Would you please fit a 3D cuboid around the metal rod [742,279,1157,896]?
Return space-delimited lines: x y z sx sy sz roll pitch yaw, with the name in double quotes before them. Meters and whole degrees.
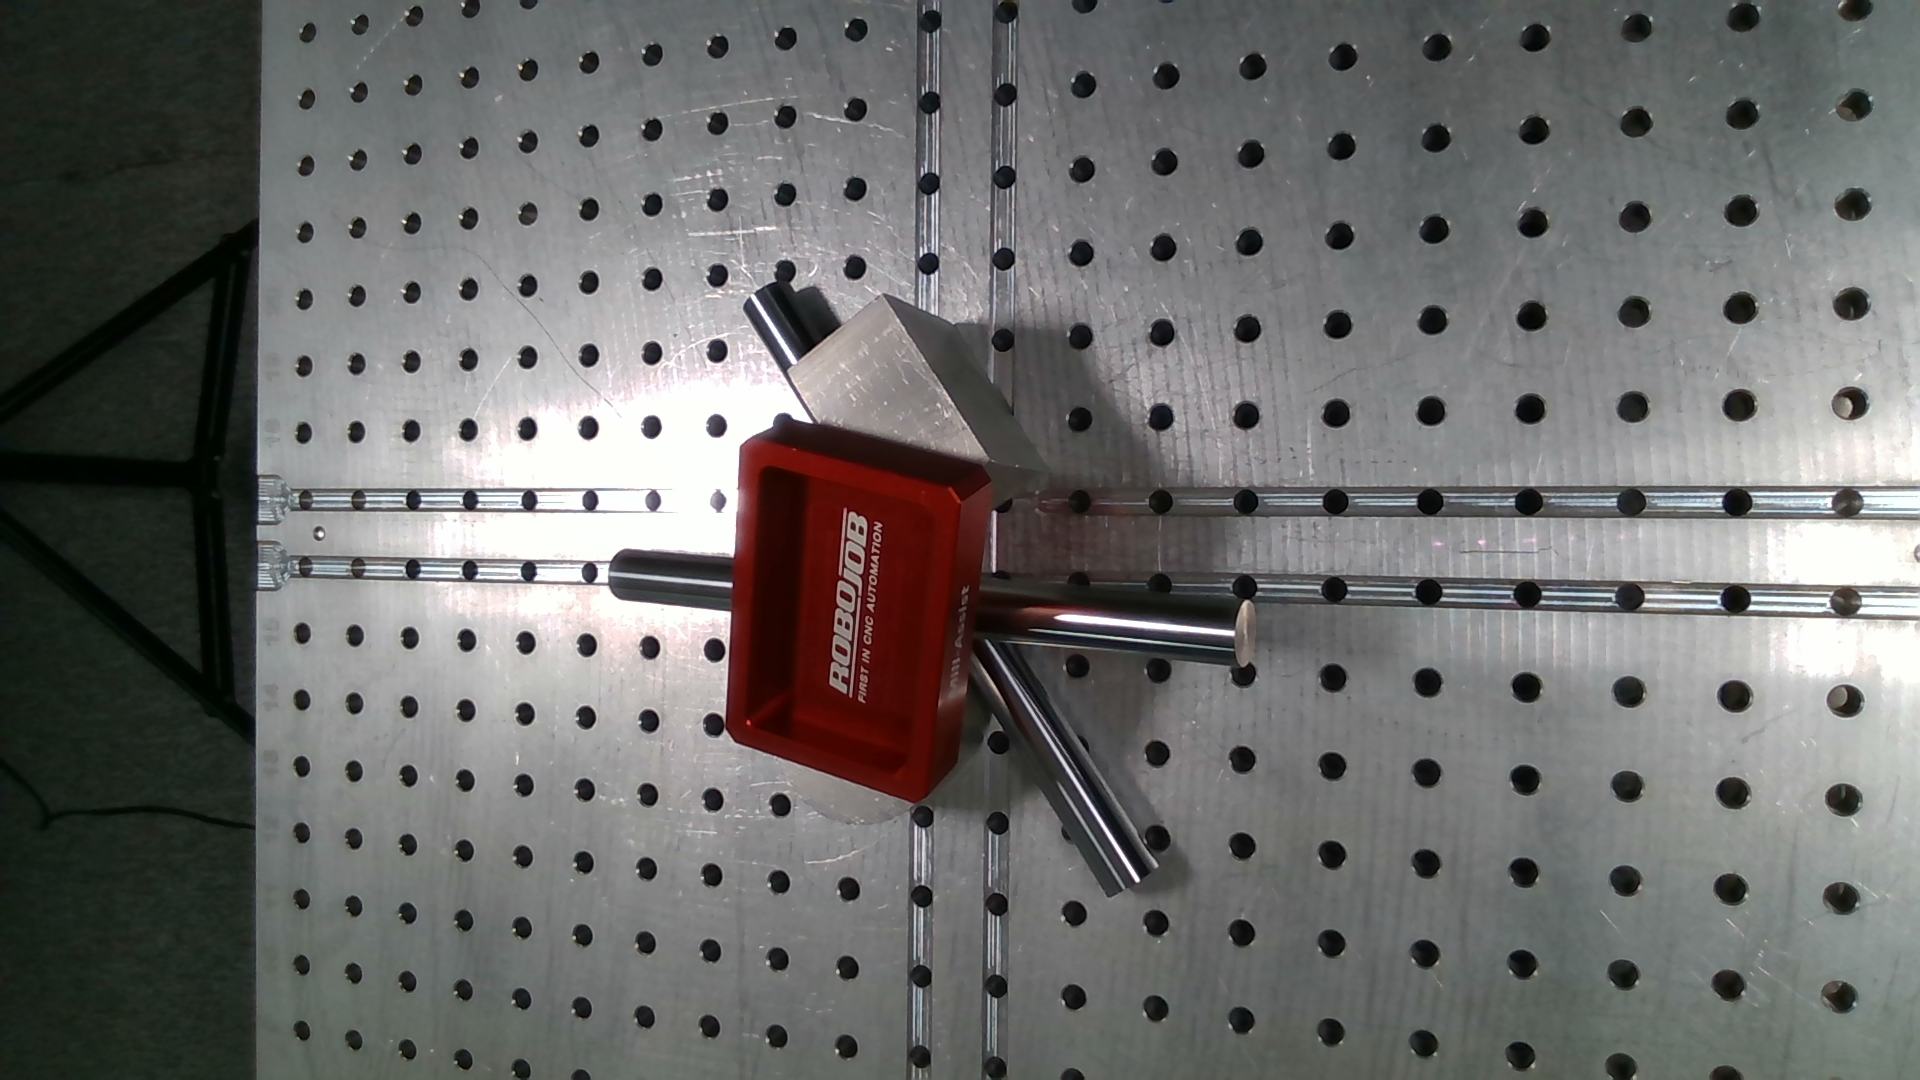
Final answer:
"metal rod" -0.008 0.015 0.592 0.025 0.025 0.300 -36 79 17

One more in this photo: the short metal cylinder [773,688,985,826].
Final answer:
"short metal cylinder" -0.035 0.077 0.587 0.080 0.050 0.080 0 90 20

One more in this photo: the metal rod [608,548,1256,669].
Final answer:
"metal rod" -0.026 0.025 0.574 0.300 0.025 0.025 4 92 29

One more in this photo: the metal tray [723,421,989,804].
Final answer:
"metal tray" -0.042 0.027 0.526 0.090 0.030 0.130 15 114 19

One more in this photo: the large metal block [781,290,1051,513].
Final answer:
"large metal block" -0.016 -0.048 0.563 0.050 0.080 0.080 -36 79 17
